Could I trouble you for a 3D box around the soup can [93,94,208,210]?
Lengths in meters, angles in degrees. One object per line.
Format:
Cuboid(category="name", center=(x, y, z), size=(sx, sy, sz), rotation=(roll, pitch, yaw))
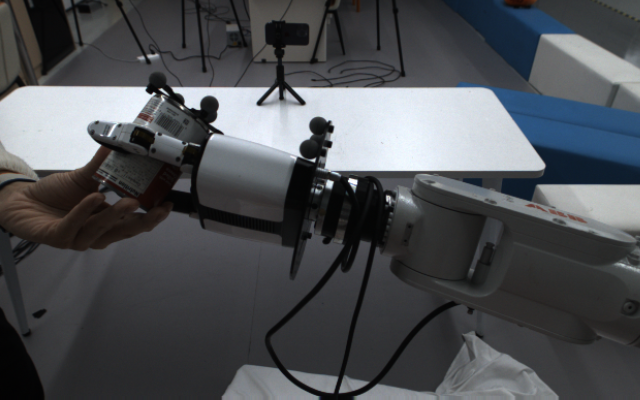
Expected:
Cuboid(category="soup can", center=(-0.163, -0.044, 0.481), size=(0.067, 0.067, 0.101), rotation=(24, 76, 28))
